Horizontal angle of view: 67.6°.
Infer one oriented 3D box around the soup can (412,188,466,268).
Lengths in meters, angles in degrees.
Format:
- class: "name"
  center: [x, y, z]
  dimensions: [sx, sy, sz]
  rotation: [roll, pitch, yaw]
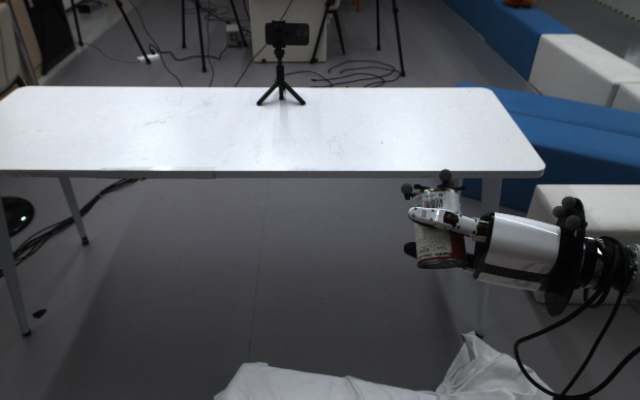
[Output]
- class: "soup can"
  center: [0.166, 0.038, 0.678]
  dimensions: [0.067, 0.067, 0.101]
  rotation: [-1, 72, -4]
